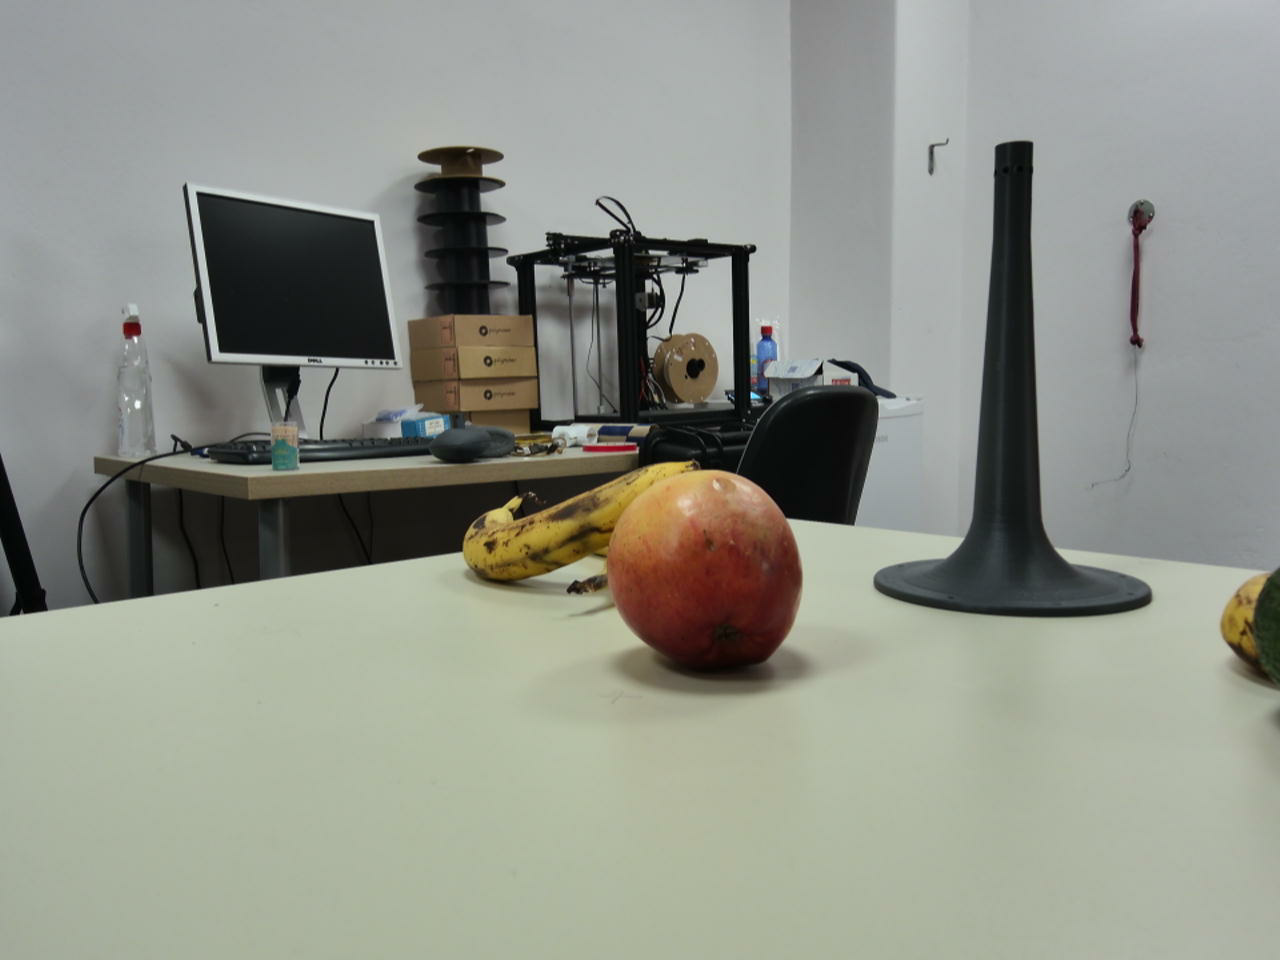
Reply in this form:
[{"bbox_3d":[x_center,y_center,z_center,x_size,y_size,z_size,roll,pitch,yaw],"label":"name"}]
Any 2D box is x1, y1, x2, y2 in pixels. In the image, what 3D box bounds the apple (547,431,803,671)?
[{"bbox_3d":[0.029,0.038,0.450,0.086,0.084,0.093,1,3,14],"label":"apple"}]
